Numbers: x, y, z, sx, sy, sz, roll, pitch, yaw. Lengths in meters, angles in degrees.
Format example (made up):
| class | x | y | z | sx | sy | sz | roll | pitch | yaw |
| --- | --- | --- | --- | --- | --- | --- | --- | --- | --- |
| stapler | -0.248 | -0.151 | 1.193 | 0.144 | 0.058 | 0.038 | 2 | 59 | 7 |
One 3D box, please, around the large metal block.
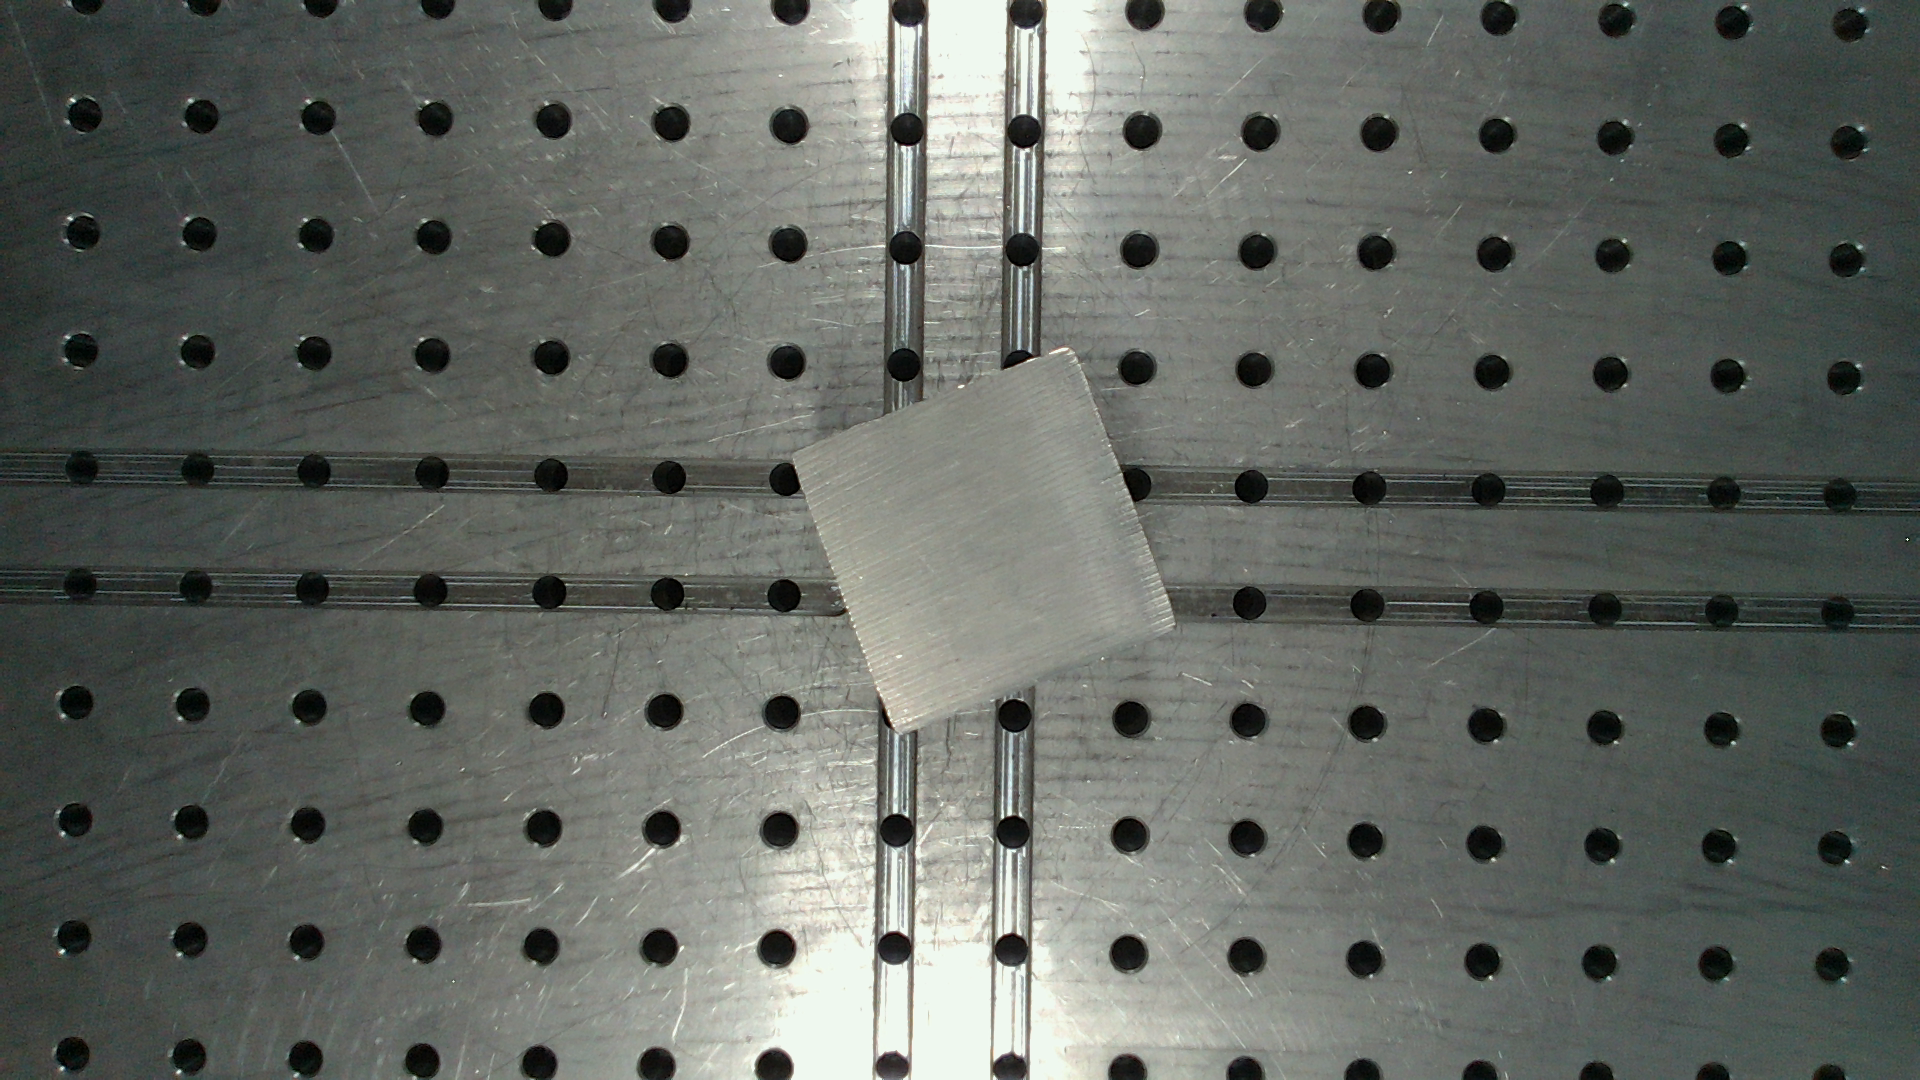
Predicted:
| class | x | y | z | sx | sy | sz | roll | pitch | yaw |
| --- | --- | --- | --- | --- | --- | --- | --- | --- | --- |
| large metal block | 0.007 | 0.001 | 0.382 | 0.080 | 0.050 | 0.080 | -21 | 90 | 0 |
